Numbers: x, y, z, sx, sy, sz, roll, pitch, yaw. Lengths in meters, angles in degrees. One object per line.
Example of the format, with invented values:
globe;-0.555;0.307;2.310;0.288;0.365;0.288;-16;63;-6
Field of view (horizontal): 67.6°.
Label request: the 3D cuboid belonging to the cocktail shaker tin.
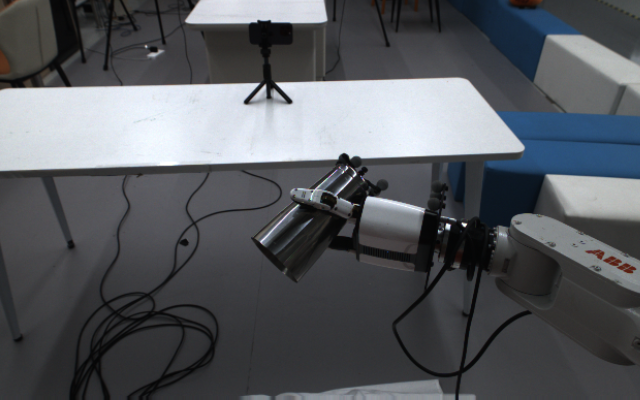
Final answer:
cocktail shaker tin;-0.007;0.022;0.704;0.170;0.093;0.093;-43;50;-14
